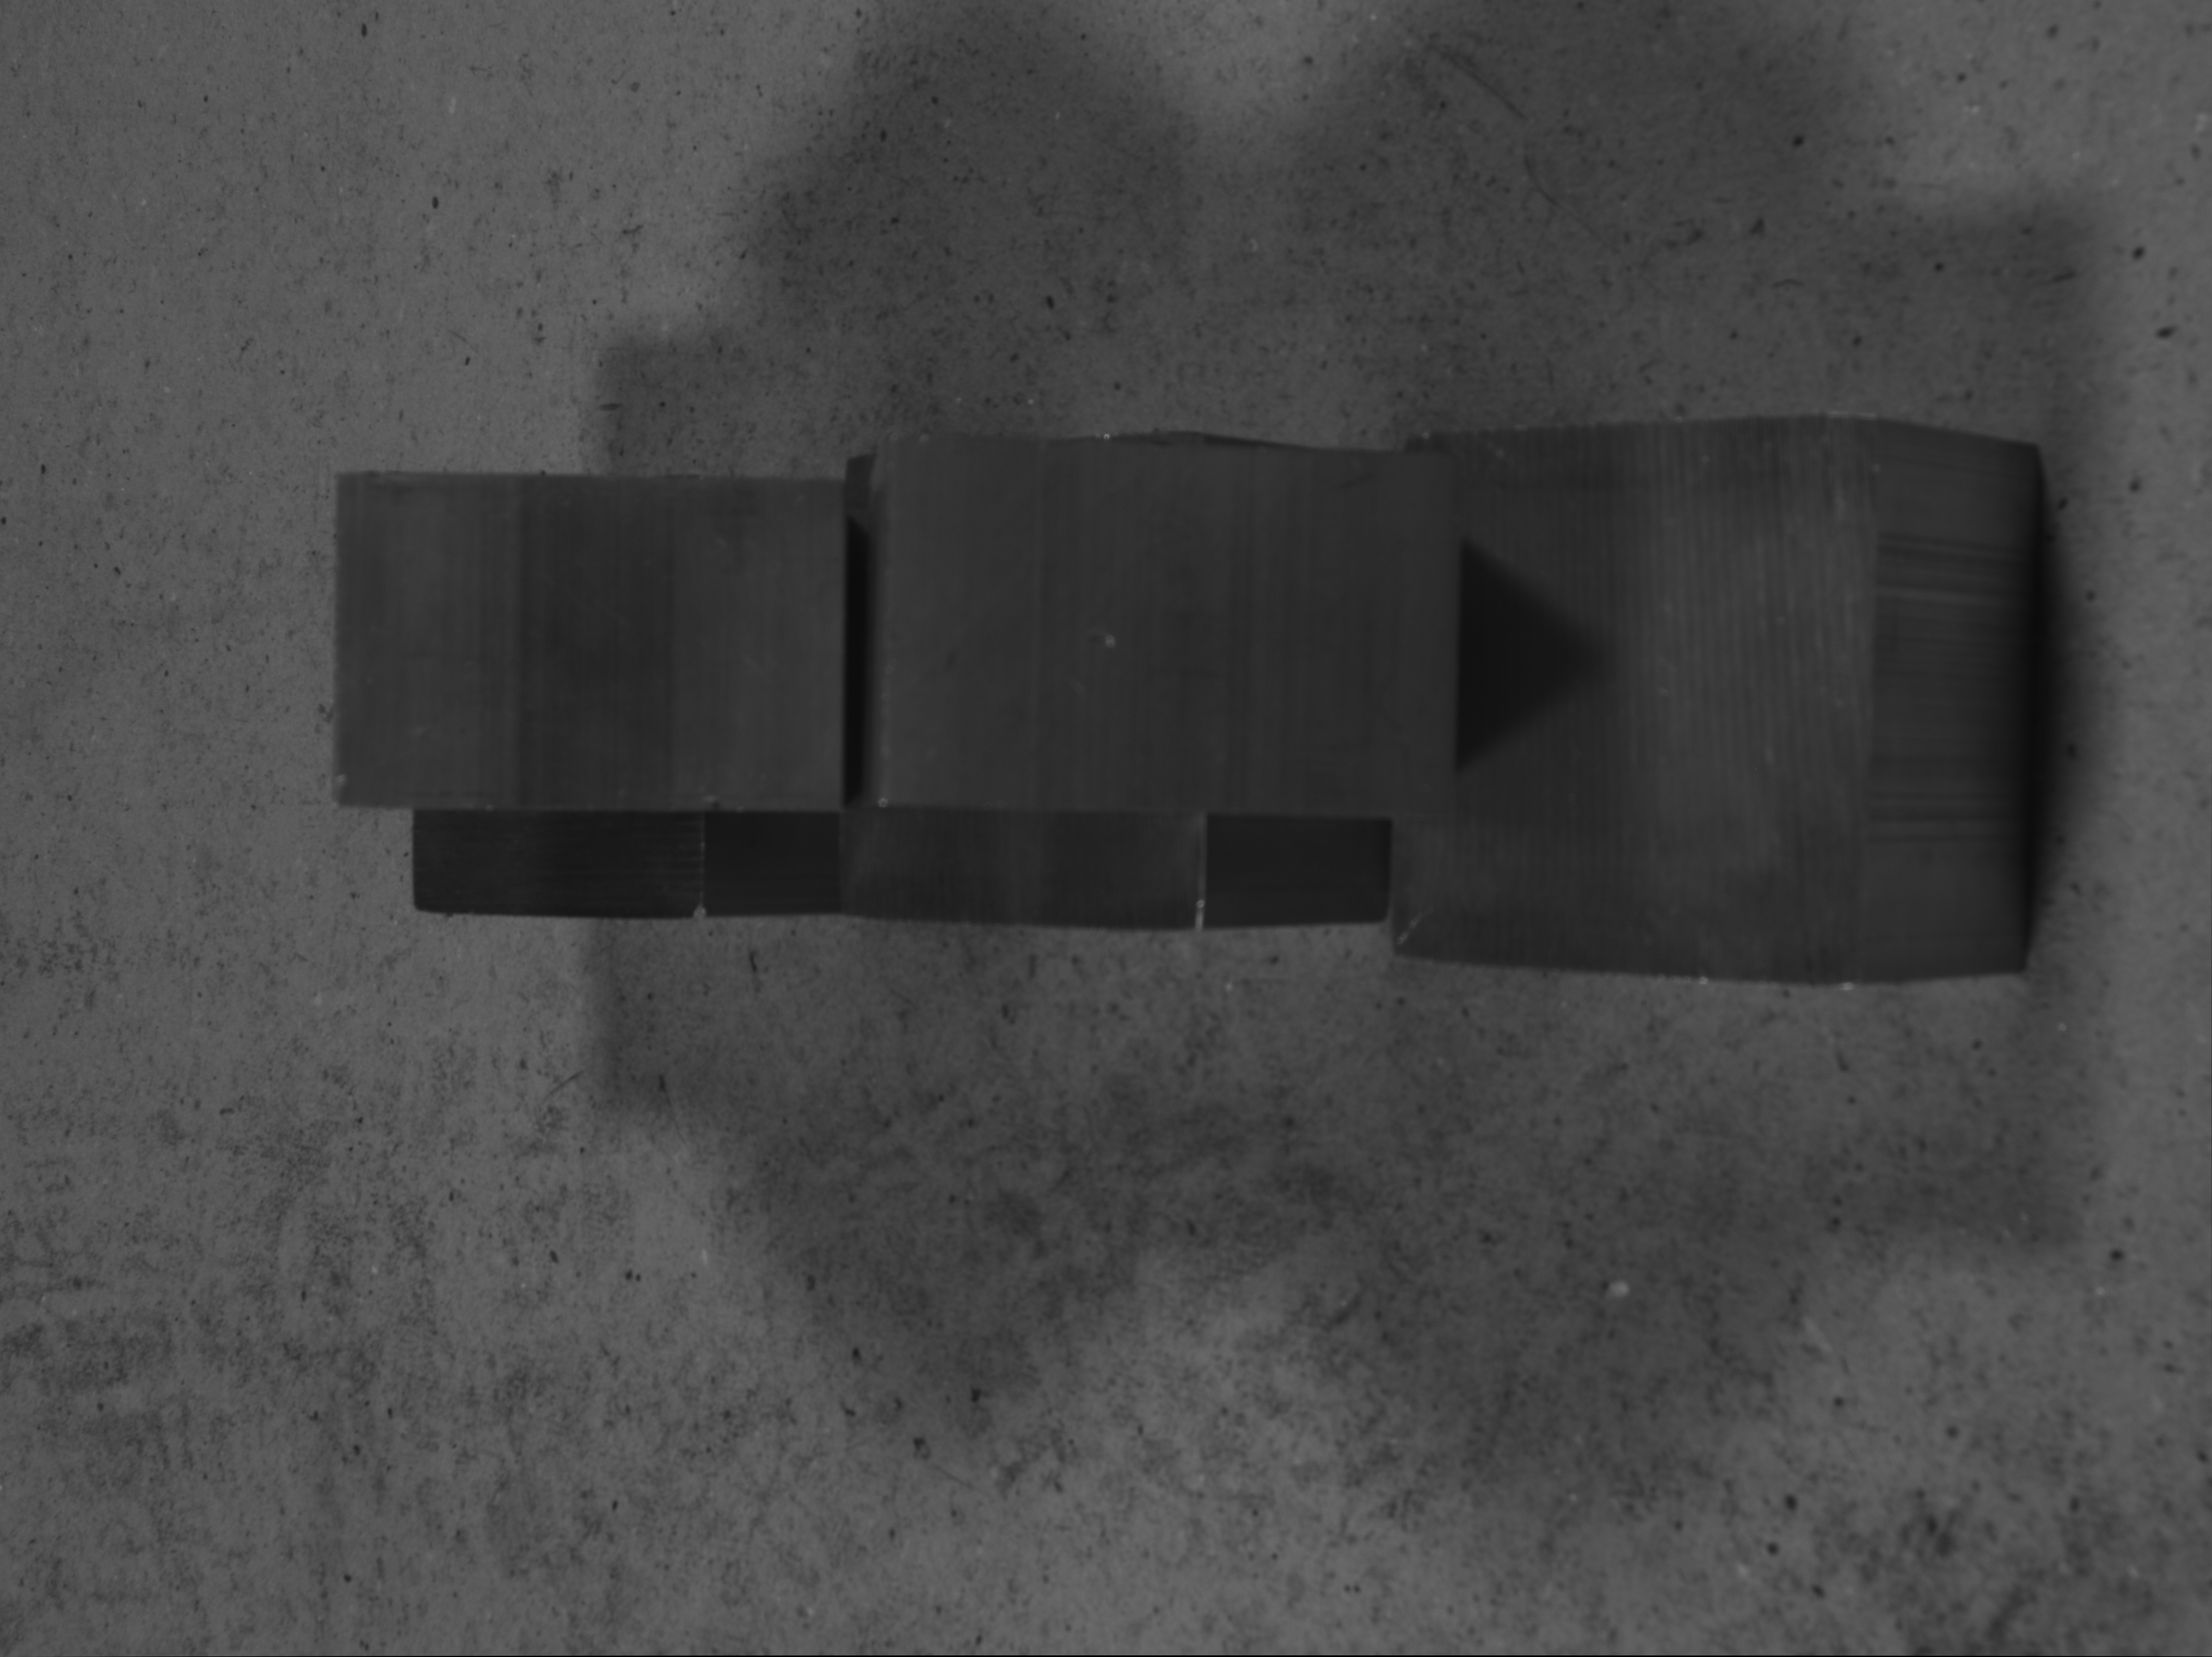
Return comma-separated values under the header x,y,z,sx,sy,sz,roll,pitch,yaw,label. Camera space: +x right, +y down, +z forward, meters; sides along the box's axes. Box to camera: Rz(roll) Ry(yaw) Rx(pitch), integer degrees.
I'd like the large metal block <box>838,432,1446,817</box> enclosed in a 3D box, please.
x,y,z,sx,sy,sz,roll,pitch,yaw,label
0.002,-0.028,0.537,0.080,0.080,0.050,-177,88,-84,large metal block

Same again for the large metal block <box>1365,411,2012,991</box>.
x,y,z,sx,sy,sz,roll,pitch,yaw,label
0.087,-0.018,0.550,0.080,0.050,0.080,2,91,39,large metal block

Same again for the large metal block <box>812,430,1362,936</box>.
x,y,z,sx,sy,sz,roll,pitch,yaw,label
-0.003,-0.023,0.624,0.080,0.050,0.080,1,90,39,large metal block

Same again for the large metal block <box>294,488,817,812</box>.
x,y,z,sx,sy,sz,roll,pitch,yaw,label
-0.089,-0.028,0.609,0.080,0.080,0.050,-1,90,-6,large metal block

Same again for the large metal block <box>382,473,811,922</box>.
x,y,z,sx,sy,sz,roll,pitch,yaw,label
-0.092,-0.023,0.696,0.080,0.050,0.080,0,90,39,large metal block
